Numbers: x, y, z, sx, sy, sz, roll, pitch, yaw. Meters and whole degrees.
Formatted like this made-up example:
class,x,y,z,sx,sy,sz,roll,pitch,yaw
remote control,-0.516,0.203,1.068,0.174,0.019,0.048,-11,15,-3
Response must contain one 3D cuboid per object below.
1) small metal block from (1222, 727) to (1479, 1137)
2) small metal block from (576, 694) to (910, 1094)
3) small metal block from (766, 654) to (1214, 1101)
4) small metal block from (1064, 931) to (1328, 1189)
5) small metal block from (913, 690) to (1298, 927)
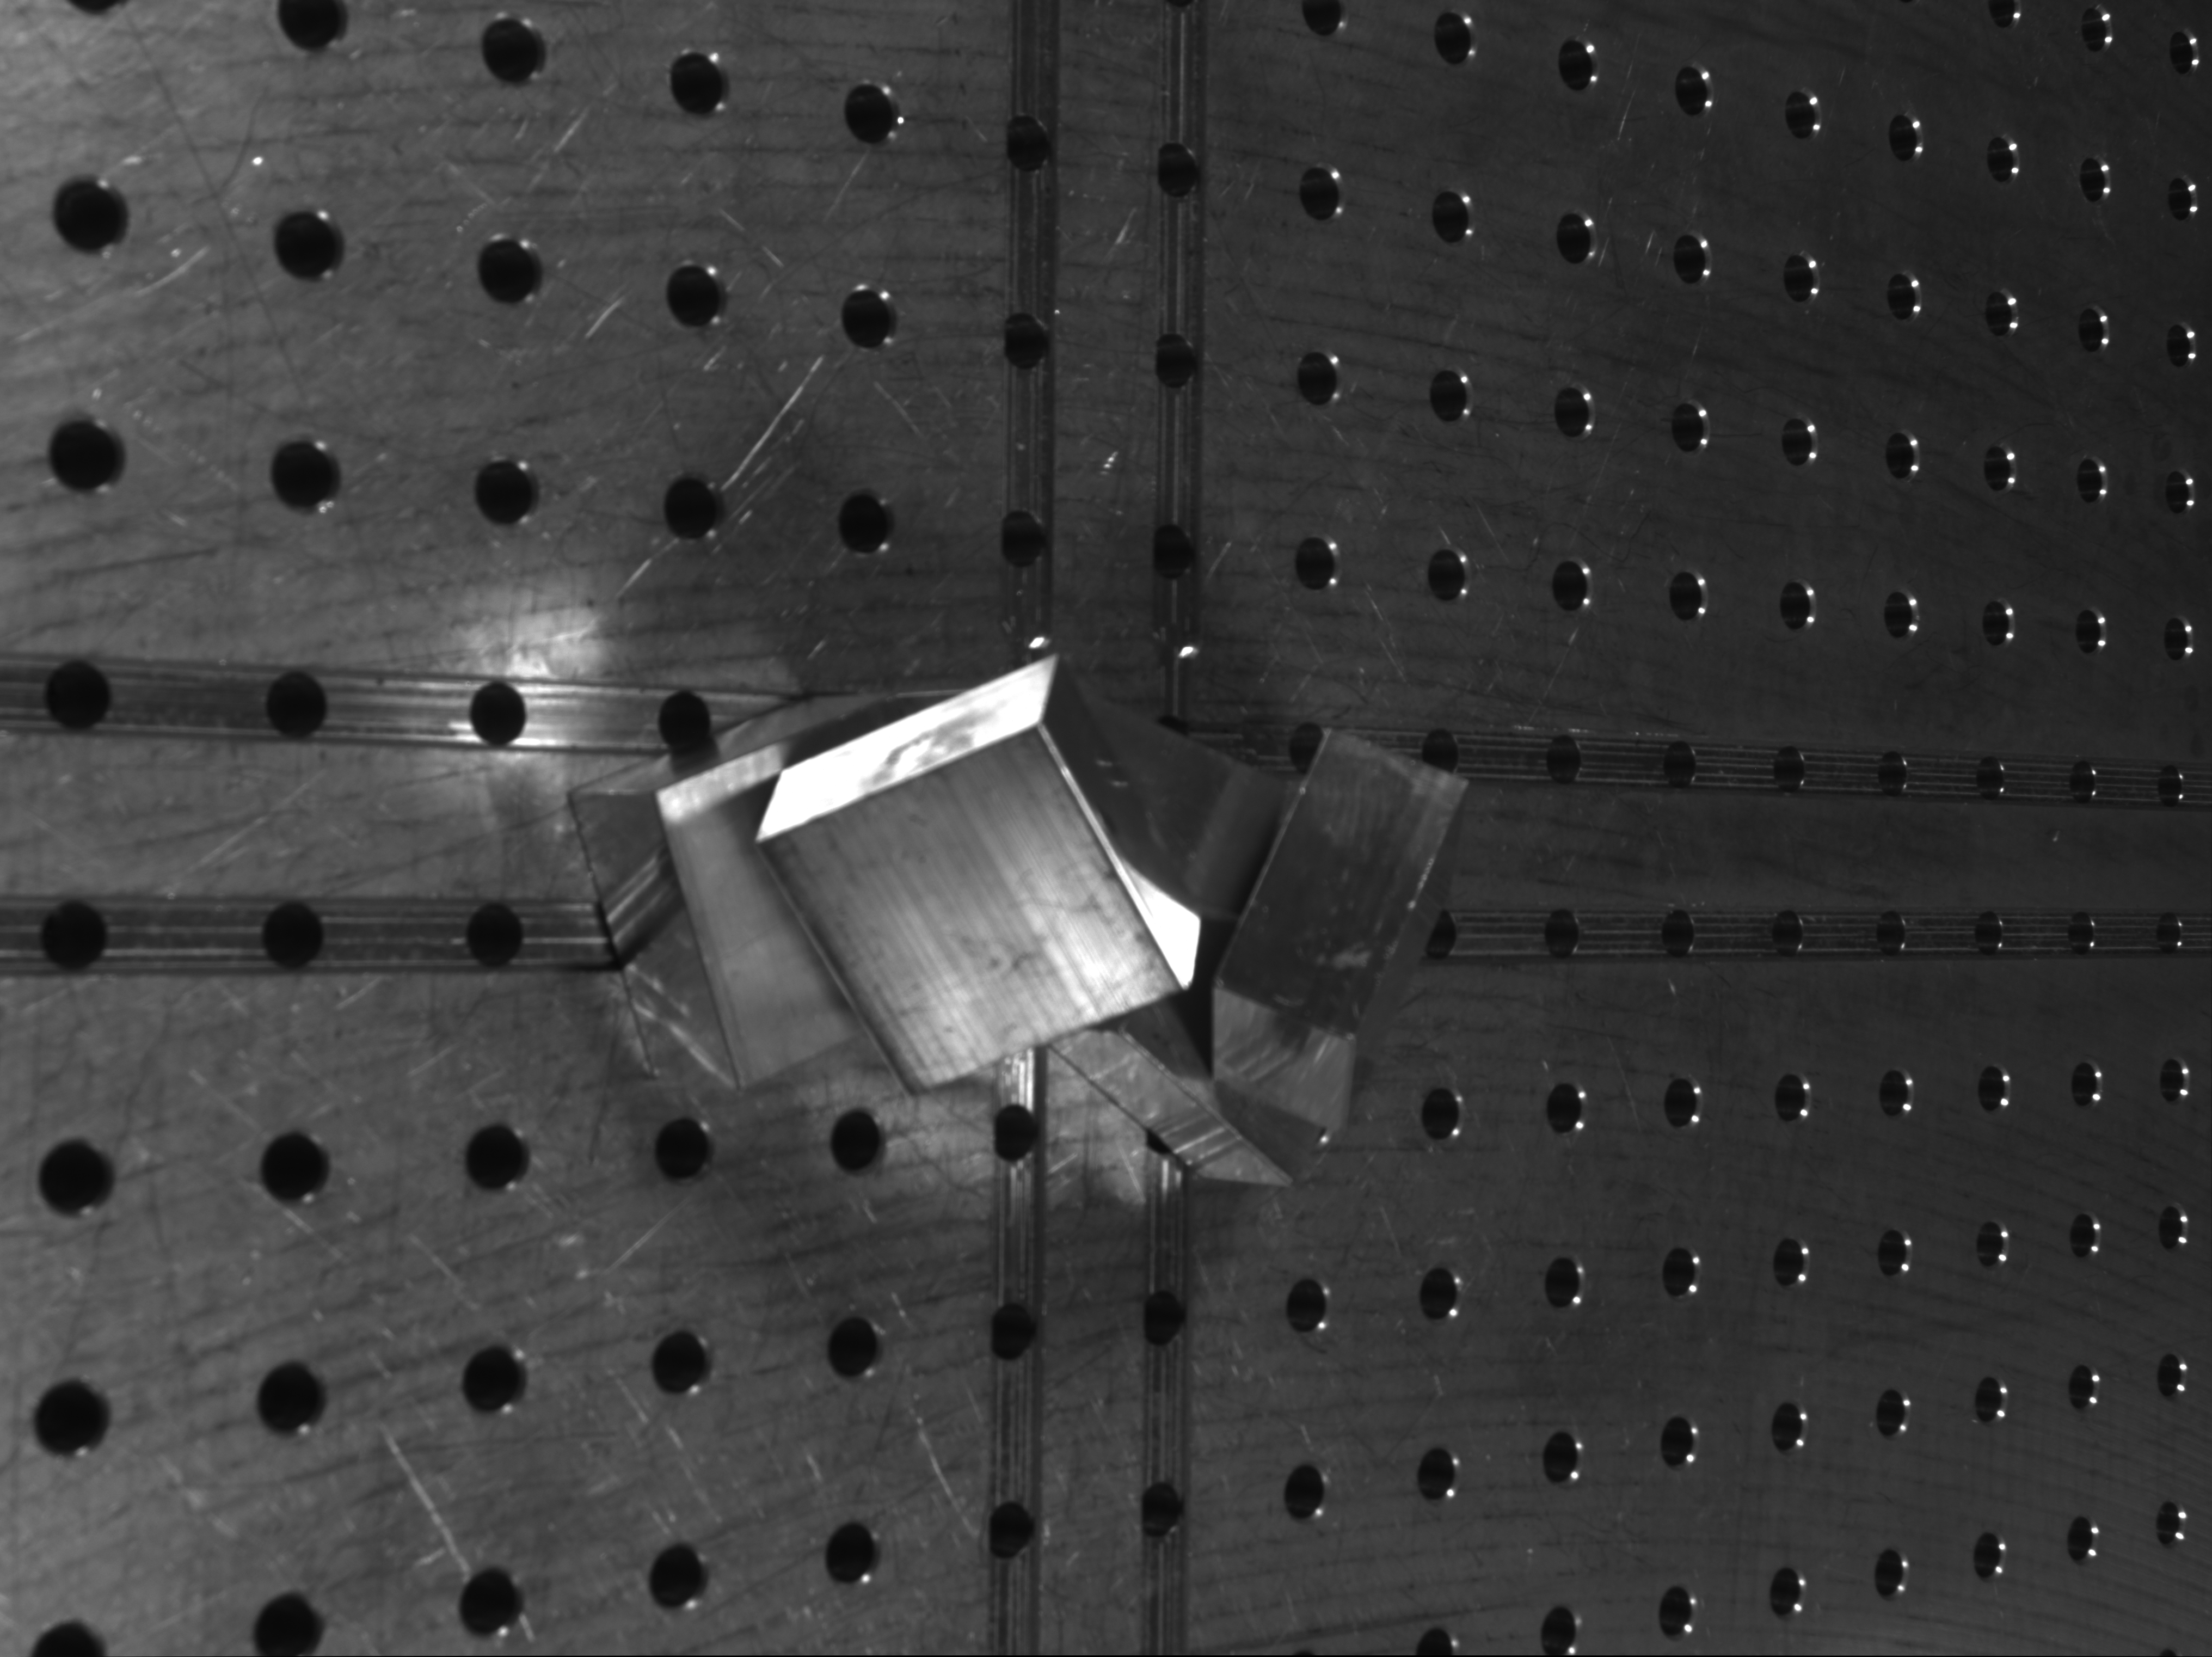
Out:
class,x,y,z,sx,sy,sz,roll,pitch,yaw
small metal block,0.041,0.018,0.624,0.050,0.025,0.050,86,27,-68
small metal block,-0.052,0.010,0.597,0.050,0.025,0.050,-25,105,-37
small metal block,-0.017,0.008,0.574,0.050,0.050,0.025,61,18,-22
small metal block,0.022,0.029,0.659,0.050,0.025,0.050,43,64,-31
small metal block,-0.005,-0.003,0.620,0.050,0.050,0.025,24,75,-37
